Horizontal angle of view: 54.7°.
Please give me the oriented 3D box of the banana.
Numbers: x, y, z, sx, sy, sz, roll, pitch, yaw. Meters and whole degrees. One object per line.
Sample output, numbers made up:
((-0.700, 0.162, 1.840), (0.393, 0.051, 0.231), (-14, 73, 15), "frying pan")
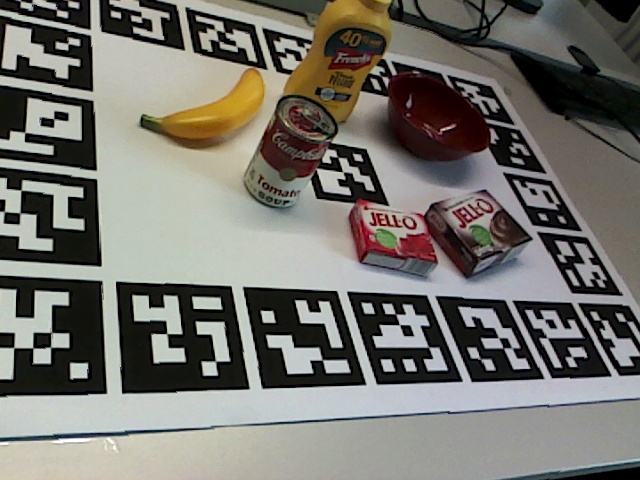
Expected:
((-0.121, -0.159, 0.718), (0.074, 0.039, 0.197), (27, 41, 9), "banana")

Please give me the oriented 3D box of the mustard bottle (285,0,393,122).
((0.034, -0.235, 0.752), (0.095, 0.191, 0.059), (5, 46, -28), "mustard bottle")

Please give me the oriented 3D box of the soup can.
((-0.039, -0.094, 0.644), (0.067, 0.102, 0.068), (19, 41, -18), "soup can")

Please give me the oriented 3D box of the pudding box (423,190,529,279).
((0.193, -0.009, 0.765), (0.113, 0.039, 0.090), (-20, 68, -42), "pudding box")

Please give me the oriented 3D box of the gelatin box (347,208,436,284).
((0.079, 0.006, 0.688), (0.089, 0.030, 0.073), (10, 49, -23), "gelatin box")

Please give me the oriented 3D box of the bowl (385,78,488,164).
((0.153, -0.158, 0.876), (0.161, 0.055, 0.162), (16, 44, -16), "bowl")
